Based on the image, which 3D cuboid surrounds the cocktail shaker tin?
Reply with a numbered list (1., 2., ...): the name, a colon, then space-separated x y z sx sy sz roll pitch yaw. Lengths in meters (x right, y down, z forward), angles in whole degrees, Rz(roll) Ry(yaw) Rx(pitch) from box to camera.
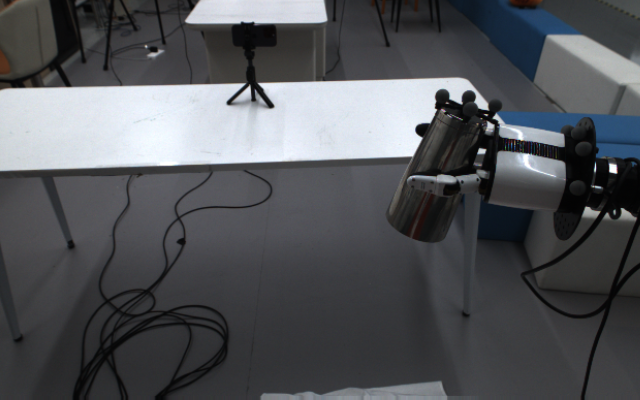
1. cocktail shaker tin: 0.162 -0.041 0.657 0.093 0.170 0.093 12 29 -7
